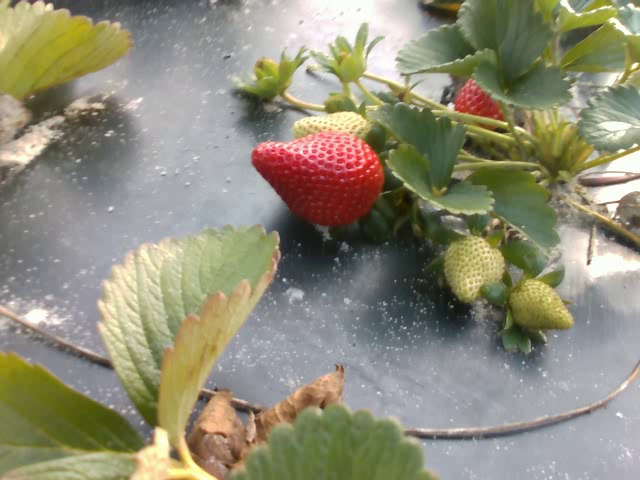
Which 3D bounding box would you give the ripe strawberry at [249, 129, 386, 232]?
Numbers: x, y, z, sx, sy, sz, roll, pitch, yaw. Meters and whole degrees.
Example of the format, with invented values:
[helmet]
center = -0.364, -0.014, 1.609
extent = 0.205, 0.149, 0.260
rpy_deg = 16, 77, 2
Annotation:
[ripe strawberry]
center = -0.008, -0.031, 0.258
extent = 0.055, 0.048, 0.051
rpy_deg = 16, -8, -38
